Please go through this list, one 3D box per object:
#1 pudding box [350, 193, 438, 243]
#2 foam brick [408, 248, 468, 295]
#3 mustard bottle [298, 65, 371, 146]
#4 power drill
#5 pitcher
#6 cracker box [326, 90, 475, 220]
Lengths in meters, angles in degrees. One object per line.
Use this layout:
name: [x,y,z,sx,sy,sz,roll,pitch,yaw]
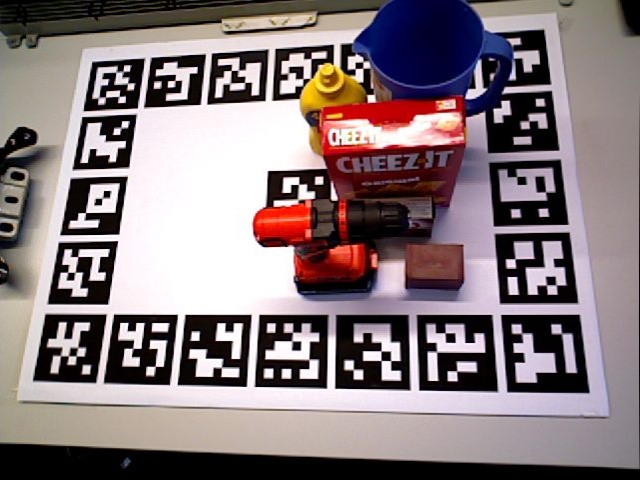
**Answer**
pudding box: [0.099,-0.028,0.728,0.114,0.090,0.038,0,70,11]
foam brick: [0.157,0.043,0.733,0.078,0.052,0.052,2,75,9]
mustard bottle: [0.021,-0.187,0.737,0.096,0.193,0.058,13,75,12]
power drill: [0.027,0.009,0.655,0.184,0.189,0.057,-1,68,7]
pitcher: [0.151,-0.191,0.706,0.189,0.244,0.132,5,73,12]
cracker box: [0.102,-0.092,0.690,0.164,0.215,0.071,-3,70,9]
